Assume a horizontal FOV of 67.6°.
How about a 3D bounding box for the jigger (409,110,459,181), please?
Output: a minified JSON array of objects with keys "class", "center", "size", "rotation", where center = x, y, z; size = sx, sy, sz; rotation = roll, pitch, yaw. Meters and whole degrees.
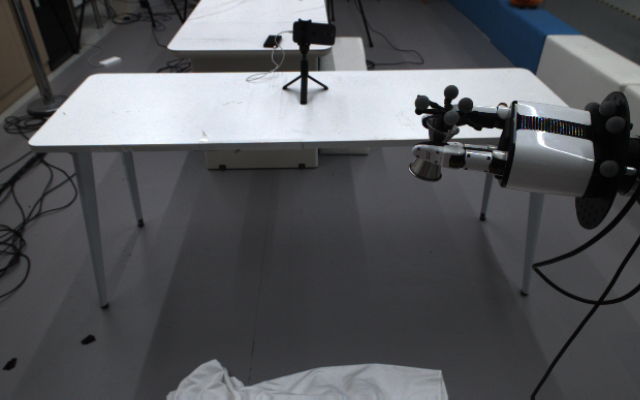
[{"class":"jigger","center":[0.140,-0.063,0.603],"size":[0.043,0.071,0.043],"rotation":[10,36,-7]}]
